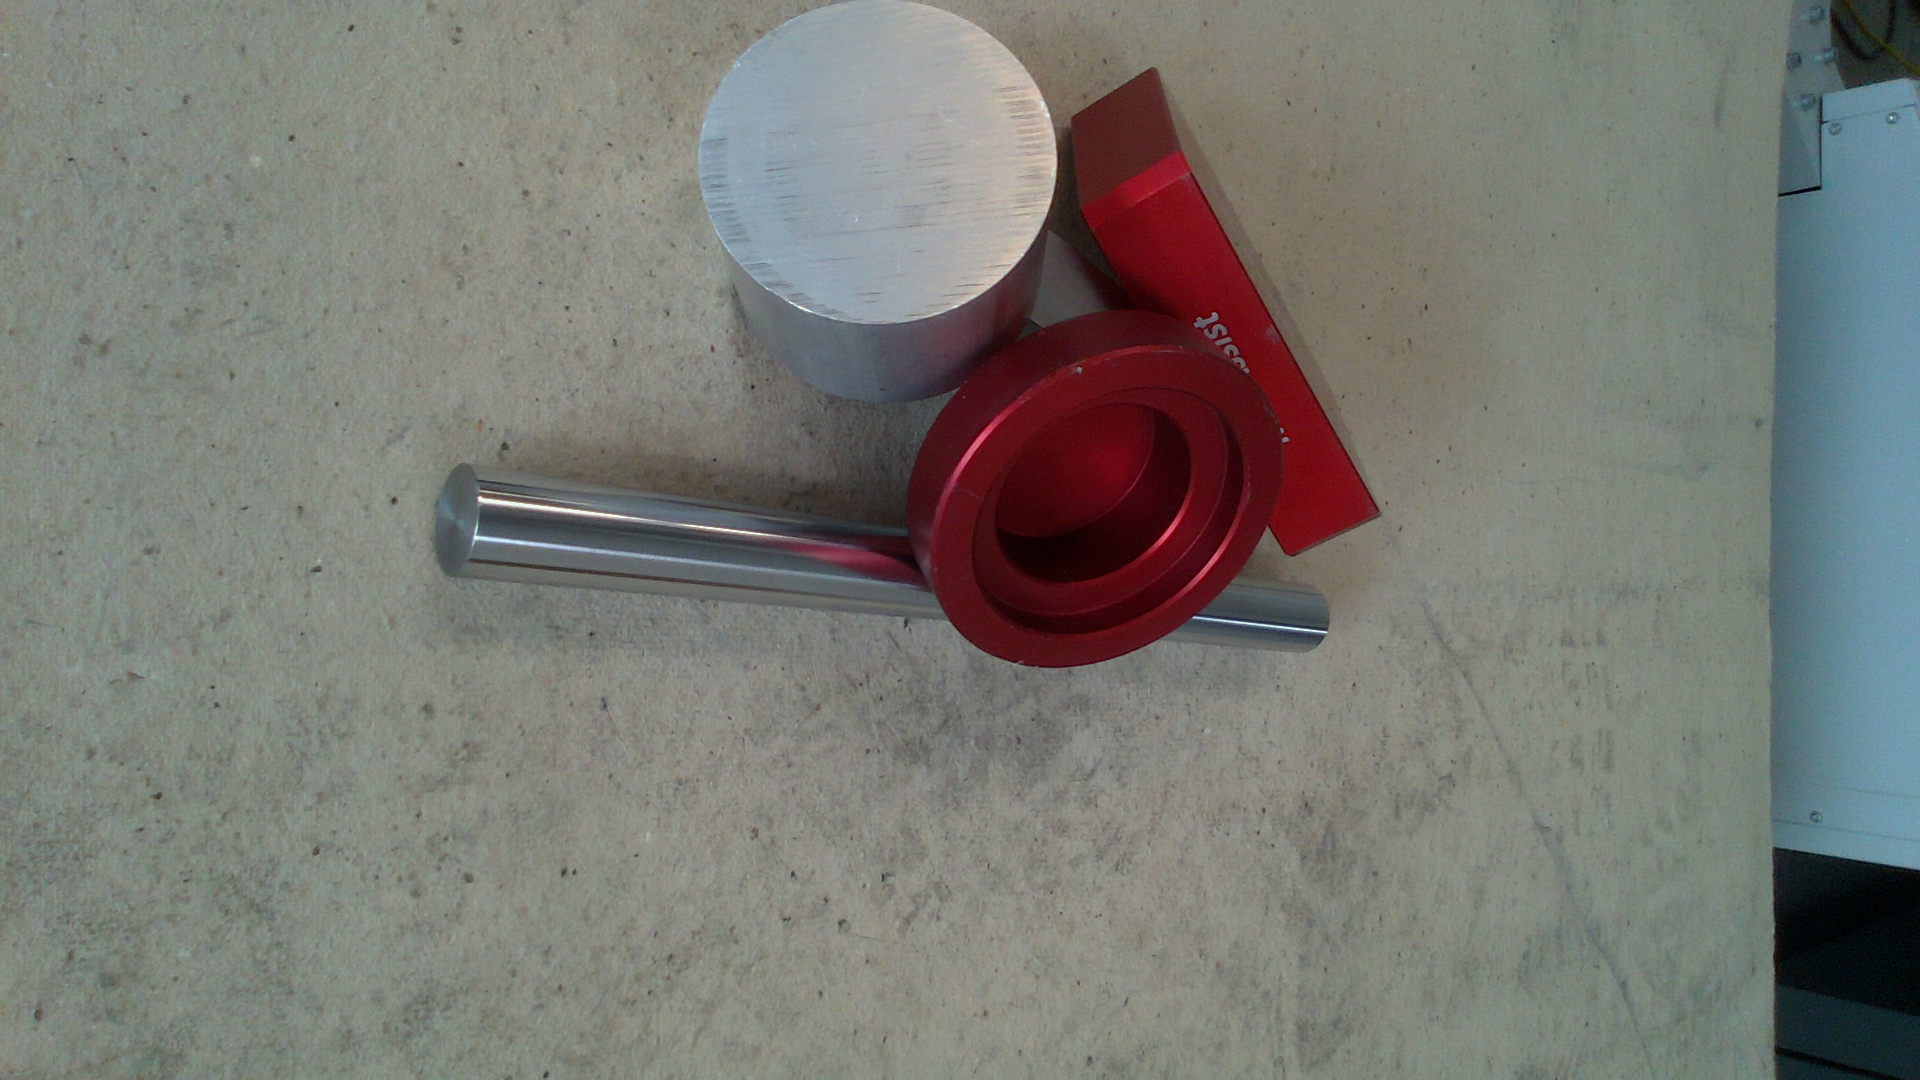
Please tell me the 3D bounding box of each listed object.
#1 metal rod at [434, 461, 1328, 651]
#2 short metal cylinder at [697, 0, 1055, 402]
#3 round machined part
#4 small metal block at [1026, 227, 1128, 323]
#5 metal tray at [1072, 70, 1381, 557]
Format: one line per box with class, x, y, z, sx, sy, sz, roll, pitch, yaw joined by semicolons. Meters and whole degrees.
metal rod;0.006;0.011;0.394;0.301;0.025;0.025;8;85;-40
short metal cylinder;-0.019;-0.080;0.331;0.080;0.050;0.080;0;76;-1
round machined part;0.031;-0.017;0.364;0.098;0.042;0.098;-13;128;-16
small metal block;0.021;-0.060;0.388;0.050;0.050;0.025;30;72;-36
metal tray;0.081;-0.069;0.420;0.130;0.030;0.090;53;21;-27
